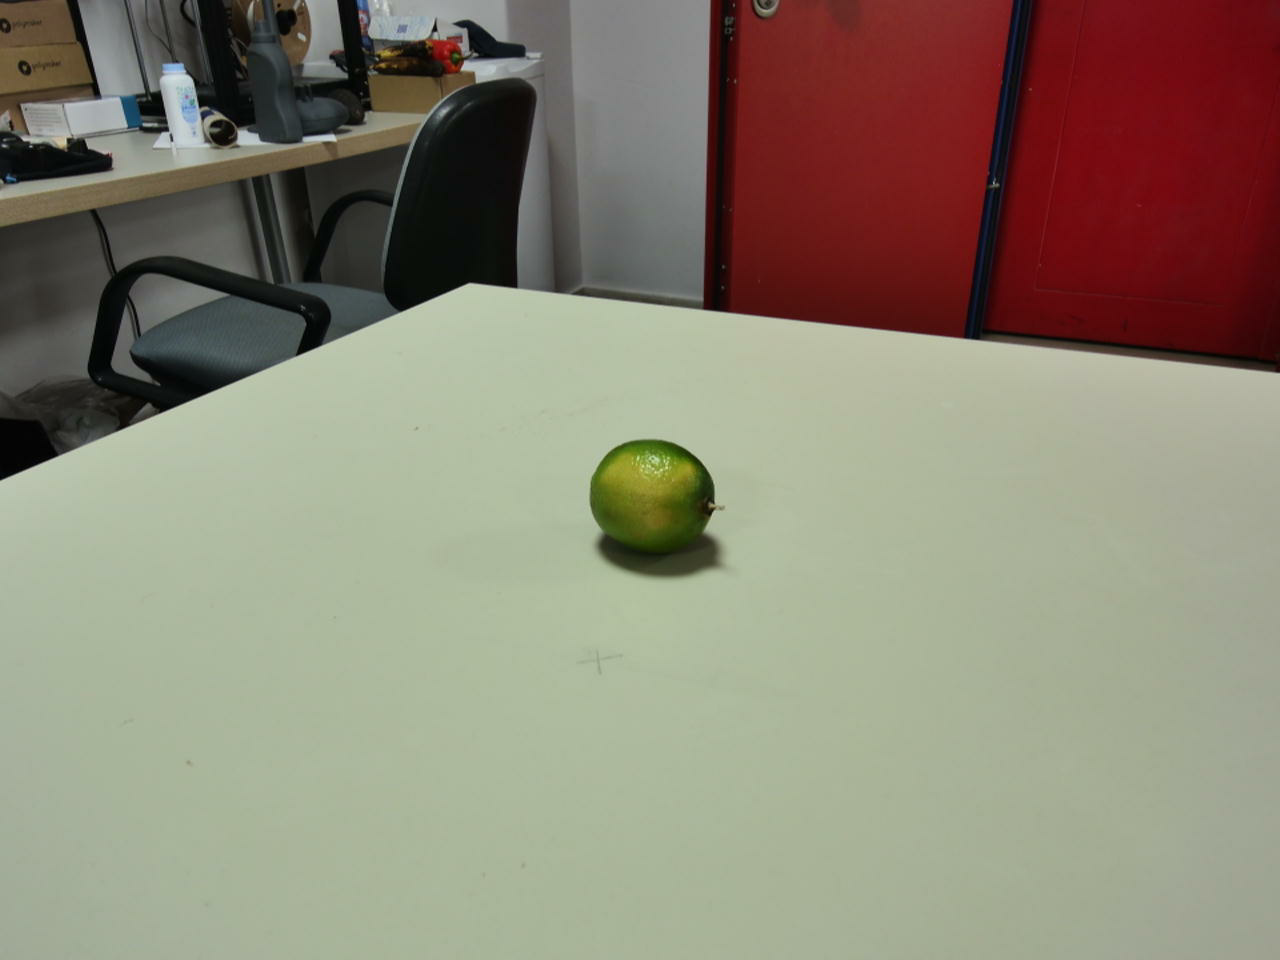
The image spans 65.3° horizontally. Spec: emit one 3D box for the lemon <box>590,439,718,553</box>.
[{"bbox_3d":[0.005,0.007,0.449,0.054,0.050,0.055,-6,24,-13],"label":"lemon"}]
